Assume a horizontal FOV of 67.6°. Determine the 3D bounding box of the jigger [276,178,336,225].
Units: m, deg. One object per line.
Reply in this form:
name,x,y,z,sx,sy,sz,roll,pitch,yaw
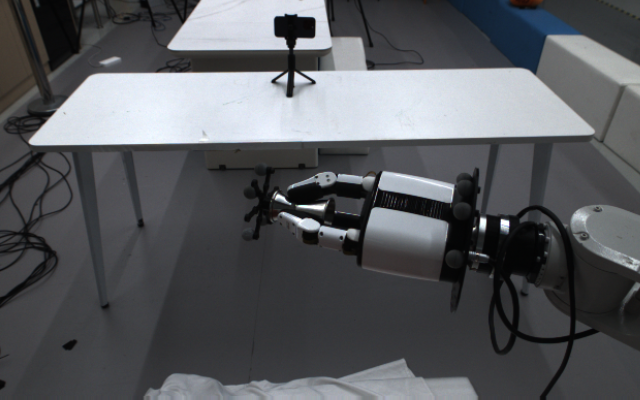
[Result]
jigger,-0.014,0.010,0.571,0.071,0.043,0.043,10,36,15
